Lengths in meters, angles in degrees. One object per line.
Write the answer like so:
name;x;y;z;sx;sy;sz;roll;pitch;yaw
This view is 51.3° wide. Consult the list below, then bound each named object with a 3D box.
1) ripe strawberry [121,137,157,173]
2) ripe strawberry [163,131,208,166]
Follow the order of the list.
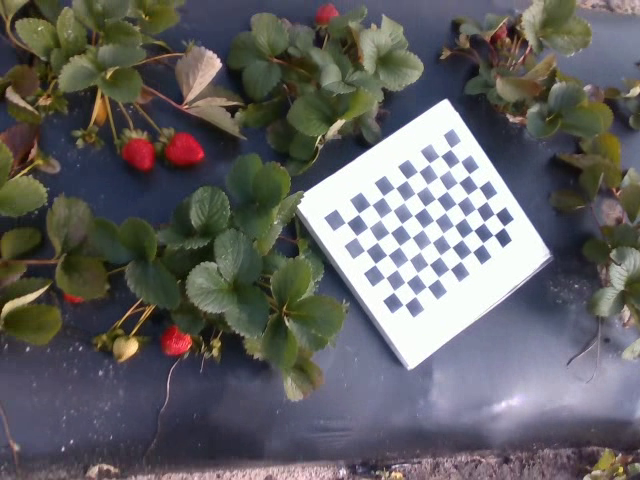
ripe strawberry;-0.252;-0.116;0.930;0.048;0.056;0.041;-20;-28;-23
ripe strawberry;-0.194;-0.128;0.948;0.064;0.058;0.051;24;-24;20
